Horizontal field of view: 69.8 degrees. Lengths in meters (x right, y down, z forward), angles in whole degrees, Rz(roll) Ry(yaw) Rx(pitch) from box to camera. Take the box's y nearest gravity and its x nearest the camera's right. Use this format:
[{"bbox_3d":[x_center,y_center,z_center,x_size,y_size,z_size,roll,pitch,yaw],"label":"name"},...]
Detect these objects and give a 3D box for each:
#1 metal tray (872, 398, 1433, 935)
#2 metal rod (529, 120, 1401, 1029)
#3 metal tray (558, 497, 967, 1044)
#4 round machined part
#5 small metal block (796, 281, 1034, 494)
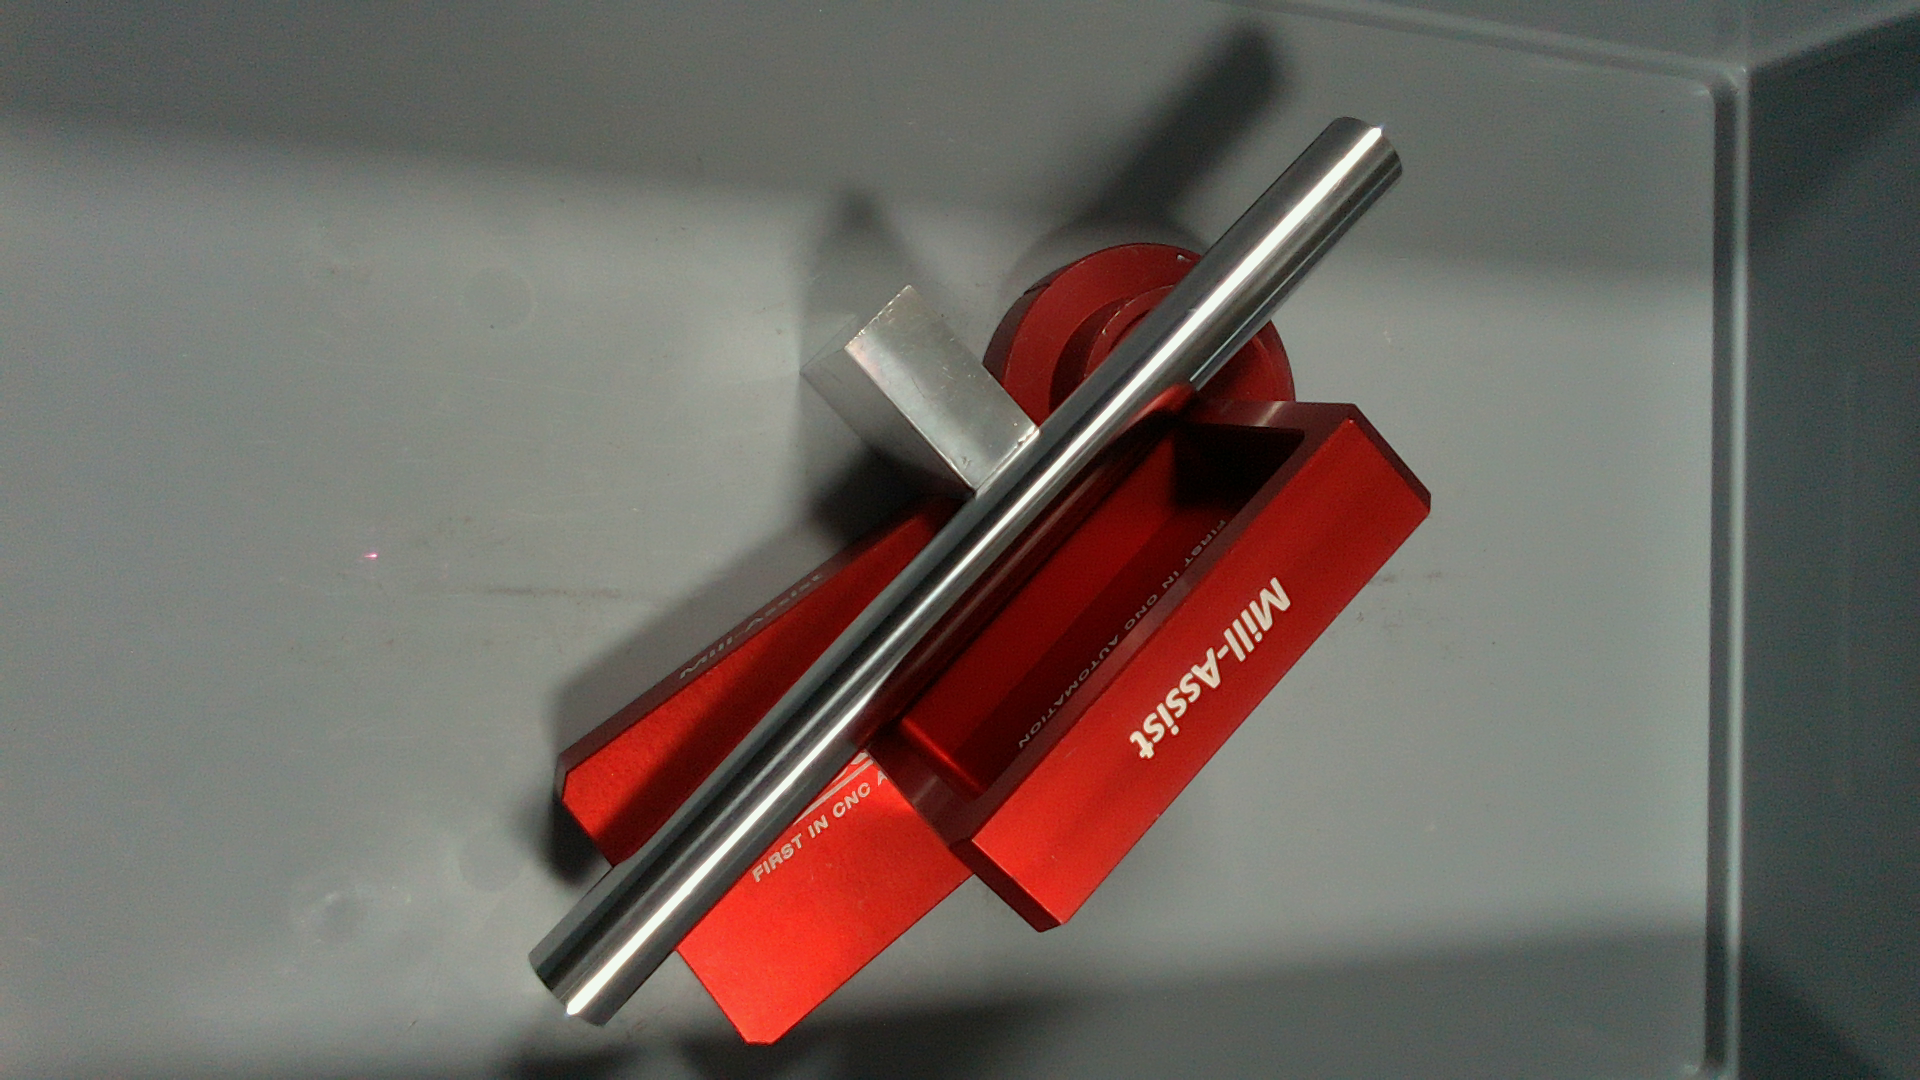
[{"bbox_3d":[0.040,0.022,0.332,0.130,0.090,0.030,-47,107,-7],"label":"metal tray"},{"bbox_3d":[0.009,0.001,0.354,0.300,0.025,0.025,-46,104,-10],"label":"metal rod"},{"bbox_3d":[-0.031,0.060,0.378,0.130,0.030,0.090,-37,102,-16],"label":"metal tray"},{"bbox_3d":[0.057,-0.039,0.404,0.098,0.042,0.098,0,90,-20],"label":"round machined part"},{"bbox_3d":[-0.013,-0.039,0.374,0.025,0.050,0.050,-46,104,-14],"label":"small metal block"}]
